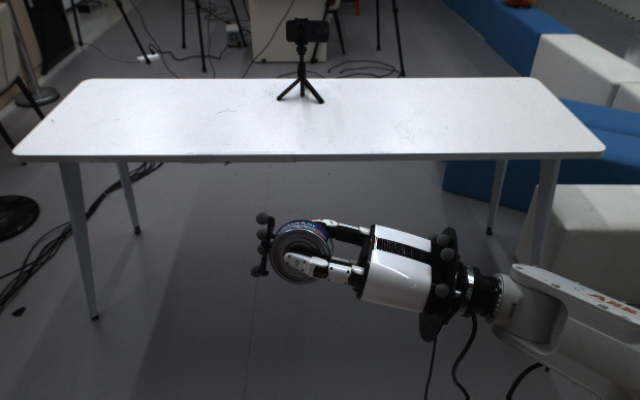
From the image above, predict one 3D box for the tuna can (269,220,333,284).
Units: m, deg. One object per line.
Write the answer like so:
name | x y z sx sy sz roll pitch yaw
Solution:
tuna can | -0.024 0.070 0.662 0.085 0.085 0.034 4 18 3
